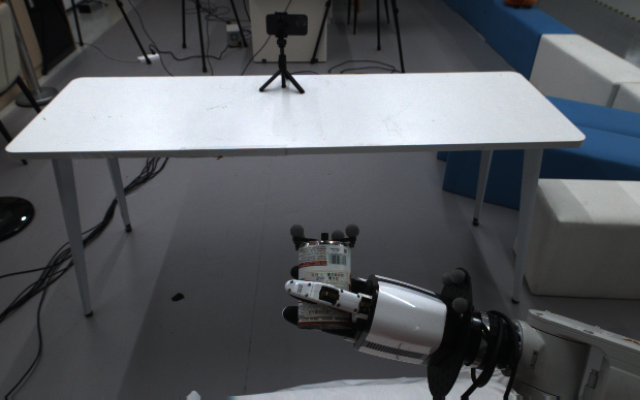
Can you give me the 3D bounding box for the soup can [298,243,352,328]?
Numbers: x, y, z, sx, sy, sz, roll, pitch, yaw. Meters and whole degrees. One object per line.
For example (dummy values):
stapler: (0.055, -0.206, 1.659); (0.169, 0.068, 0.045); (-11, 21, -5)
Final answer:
soup can: (0.007, 0.107, 0.599); (0.067, 0.067, 0.101); (1, 73, -2)
